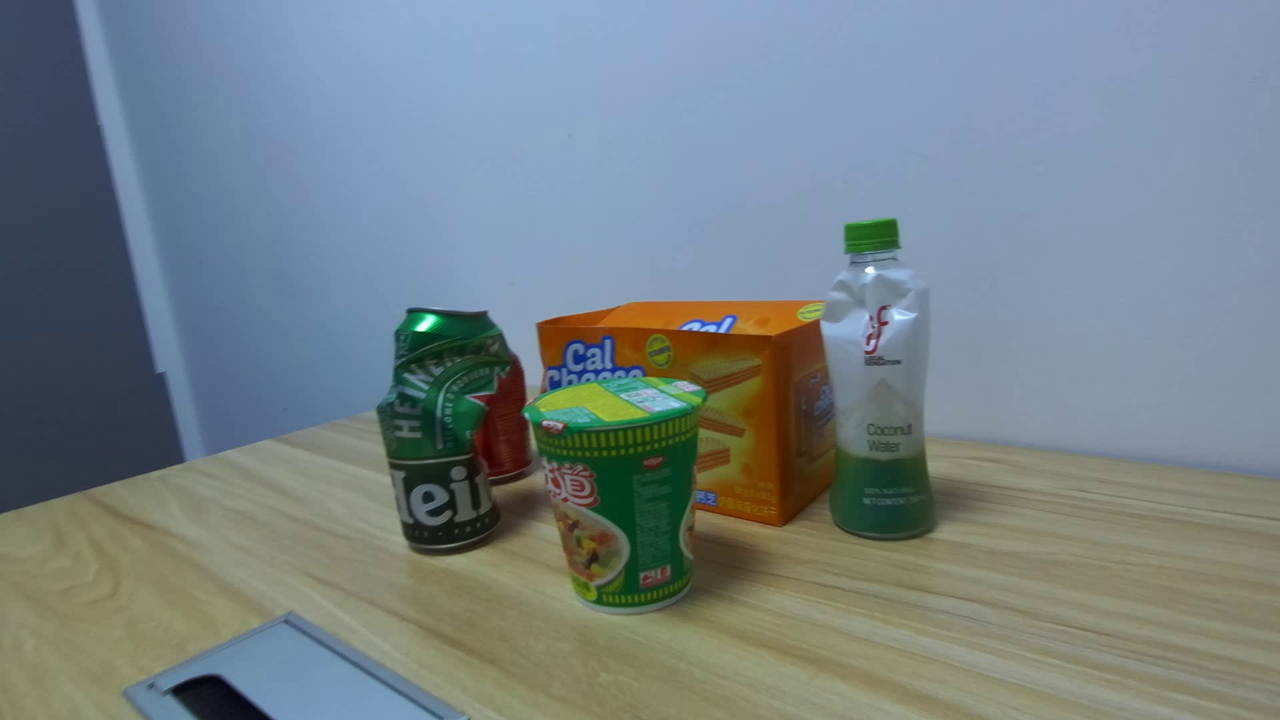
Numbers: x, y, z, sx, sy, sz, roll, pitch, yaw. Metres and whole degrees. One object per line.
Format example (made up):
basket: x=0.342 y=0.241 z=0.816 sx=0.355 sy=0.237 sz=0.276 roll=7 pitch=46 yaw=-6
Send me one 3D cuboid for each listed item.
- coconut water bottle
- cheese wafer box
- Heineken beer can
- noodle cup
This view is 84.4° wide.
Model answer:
coconut water bottle: x=0.143 y=0.011 z=0.430 sx=0.069 sy=0.186 sz=0.069 roll=-7 pitch=10 yaw=1
cheese wafer box: x=0.038 y=0.028 z=0.557 sx=0.229 sy=0.132 sz=0.153 roll=5 pitch=15 yaw=36
Heineken beer can: x=-0.129 y=0.046 z=0.472 sx=0.067 sy=0.159 sz=0.079 roll=1 pitch=5 yaw=14
noodle cup: x=-0.009 y=0.073 z=0.390 sx=0.097 sy=0.110 sz=0.097 roll=-5 pitch=13 yaw=2
